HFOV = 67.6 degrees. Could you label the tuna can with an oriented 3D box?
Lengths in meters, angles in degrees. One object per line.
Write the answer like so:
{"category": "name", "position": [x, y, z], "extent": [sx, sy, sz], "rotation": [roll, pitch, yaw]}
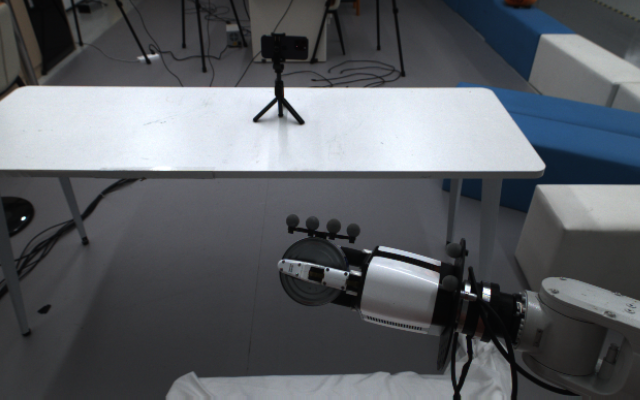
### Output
{"category": "tuna can", "position": [-0.005, 0.087, 0.609], "extent": [0.085, 0.085, 0.034], "rotation": [11, -7, 13]}
